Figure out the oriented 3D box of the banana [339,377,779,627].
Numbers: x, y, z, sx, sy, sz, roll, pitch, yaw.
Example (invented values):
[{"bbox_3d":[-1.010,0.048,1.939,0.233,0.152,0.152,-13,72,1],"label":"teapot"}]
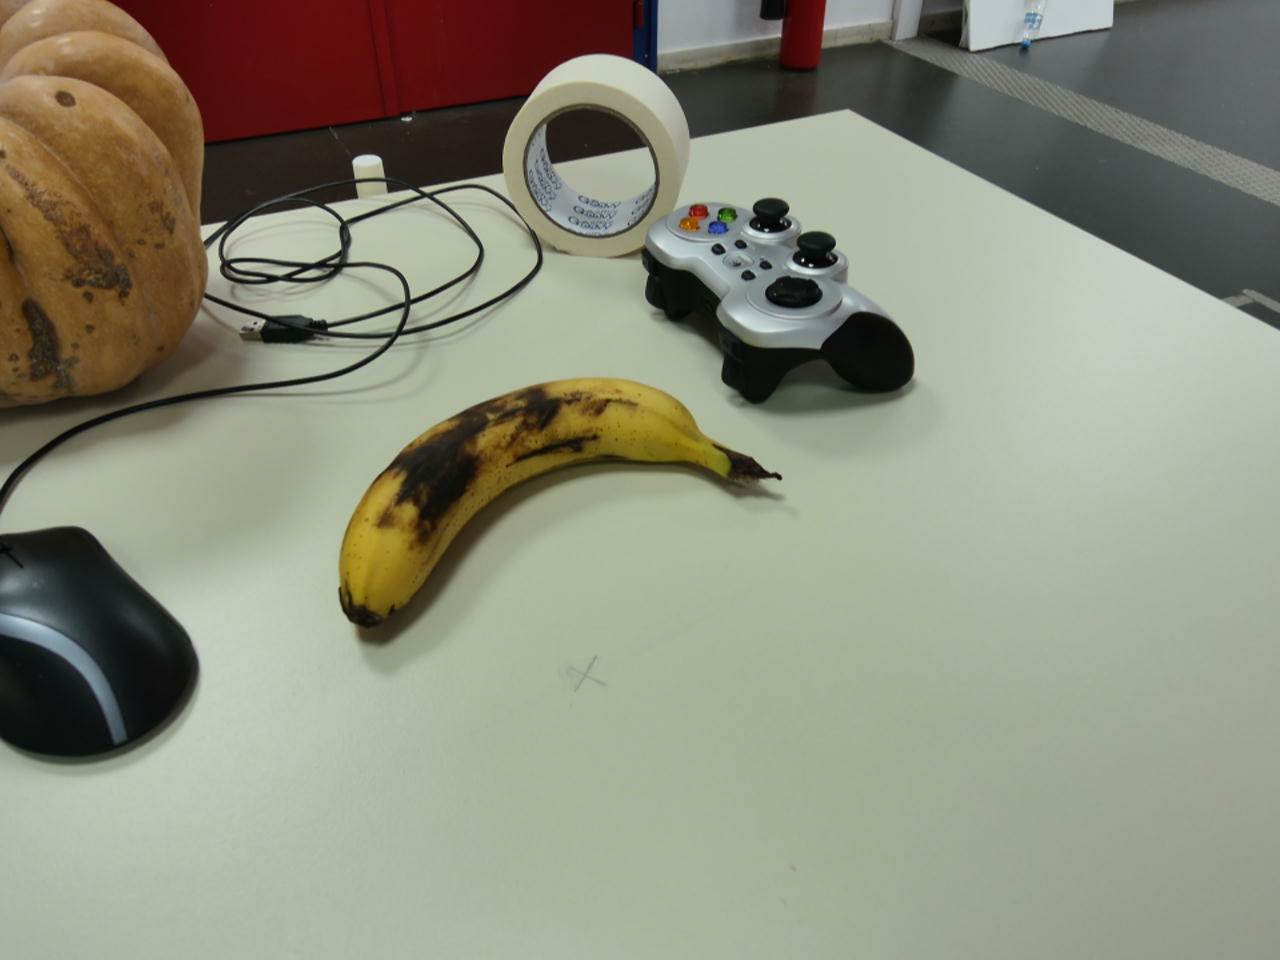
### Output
[{"bbox_3d":[-0.045,-0.004,0.423,0.187,0.039,0.094,-18,41,-23],"label":"banana"}]
